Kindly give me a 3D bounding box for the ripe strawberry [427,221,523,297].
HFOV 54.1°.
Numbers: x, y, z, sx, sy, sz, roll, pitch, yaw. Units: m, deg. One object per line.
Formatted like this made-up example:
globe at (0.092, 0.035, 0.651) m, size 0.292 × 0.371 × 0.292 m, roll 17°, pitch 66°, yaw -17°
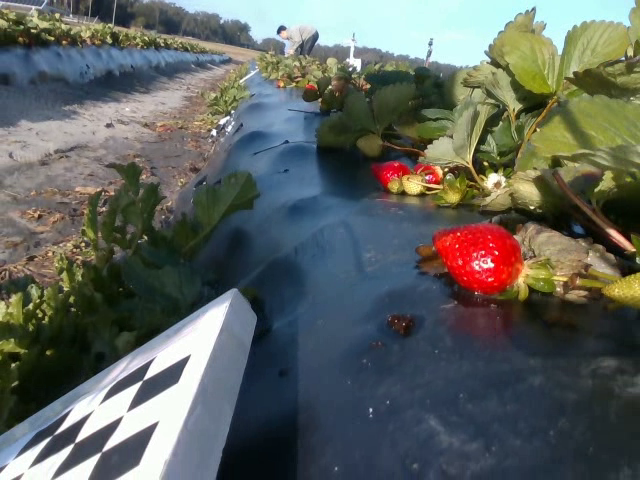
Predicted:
ripe strawberry at (0.064, 0.005, 0.287) m, size 0.054 × 0.038 × 0.047 m, roll 18°, pitch 33°, yaw 9°
